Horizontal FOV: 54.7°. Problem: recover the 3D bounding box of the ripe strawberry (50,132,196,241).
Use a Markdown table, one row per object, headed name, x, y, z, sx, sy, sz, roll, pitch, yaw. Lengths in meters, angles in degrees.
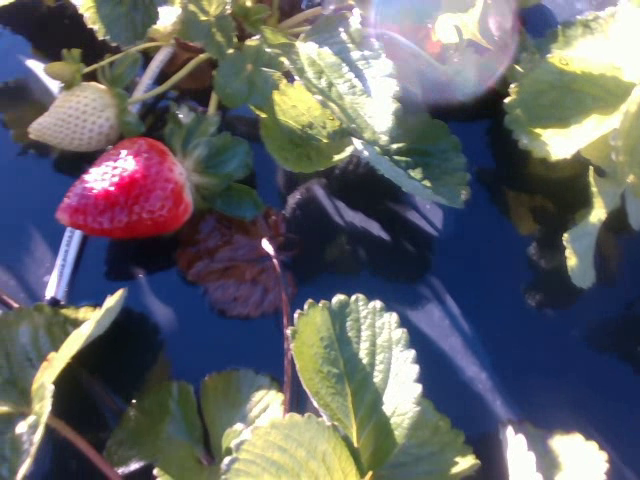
| name | x | y | z | sx | sy | sz | roll | pitch | yaw |
| --- | --- | --- | --- | --- | --- | --- | --- | --- | --- |
| ripe strawberry | -0.090 | -0.024 | 0.295 | 0.080 | 0.063 | 0.040 | -27 | 7 | -33 |
